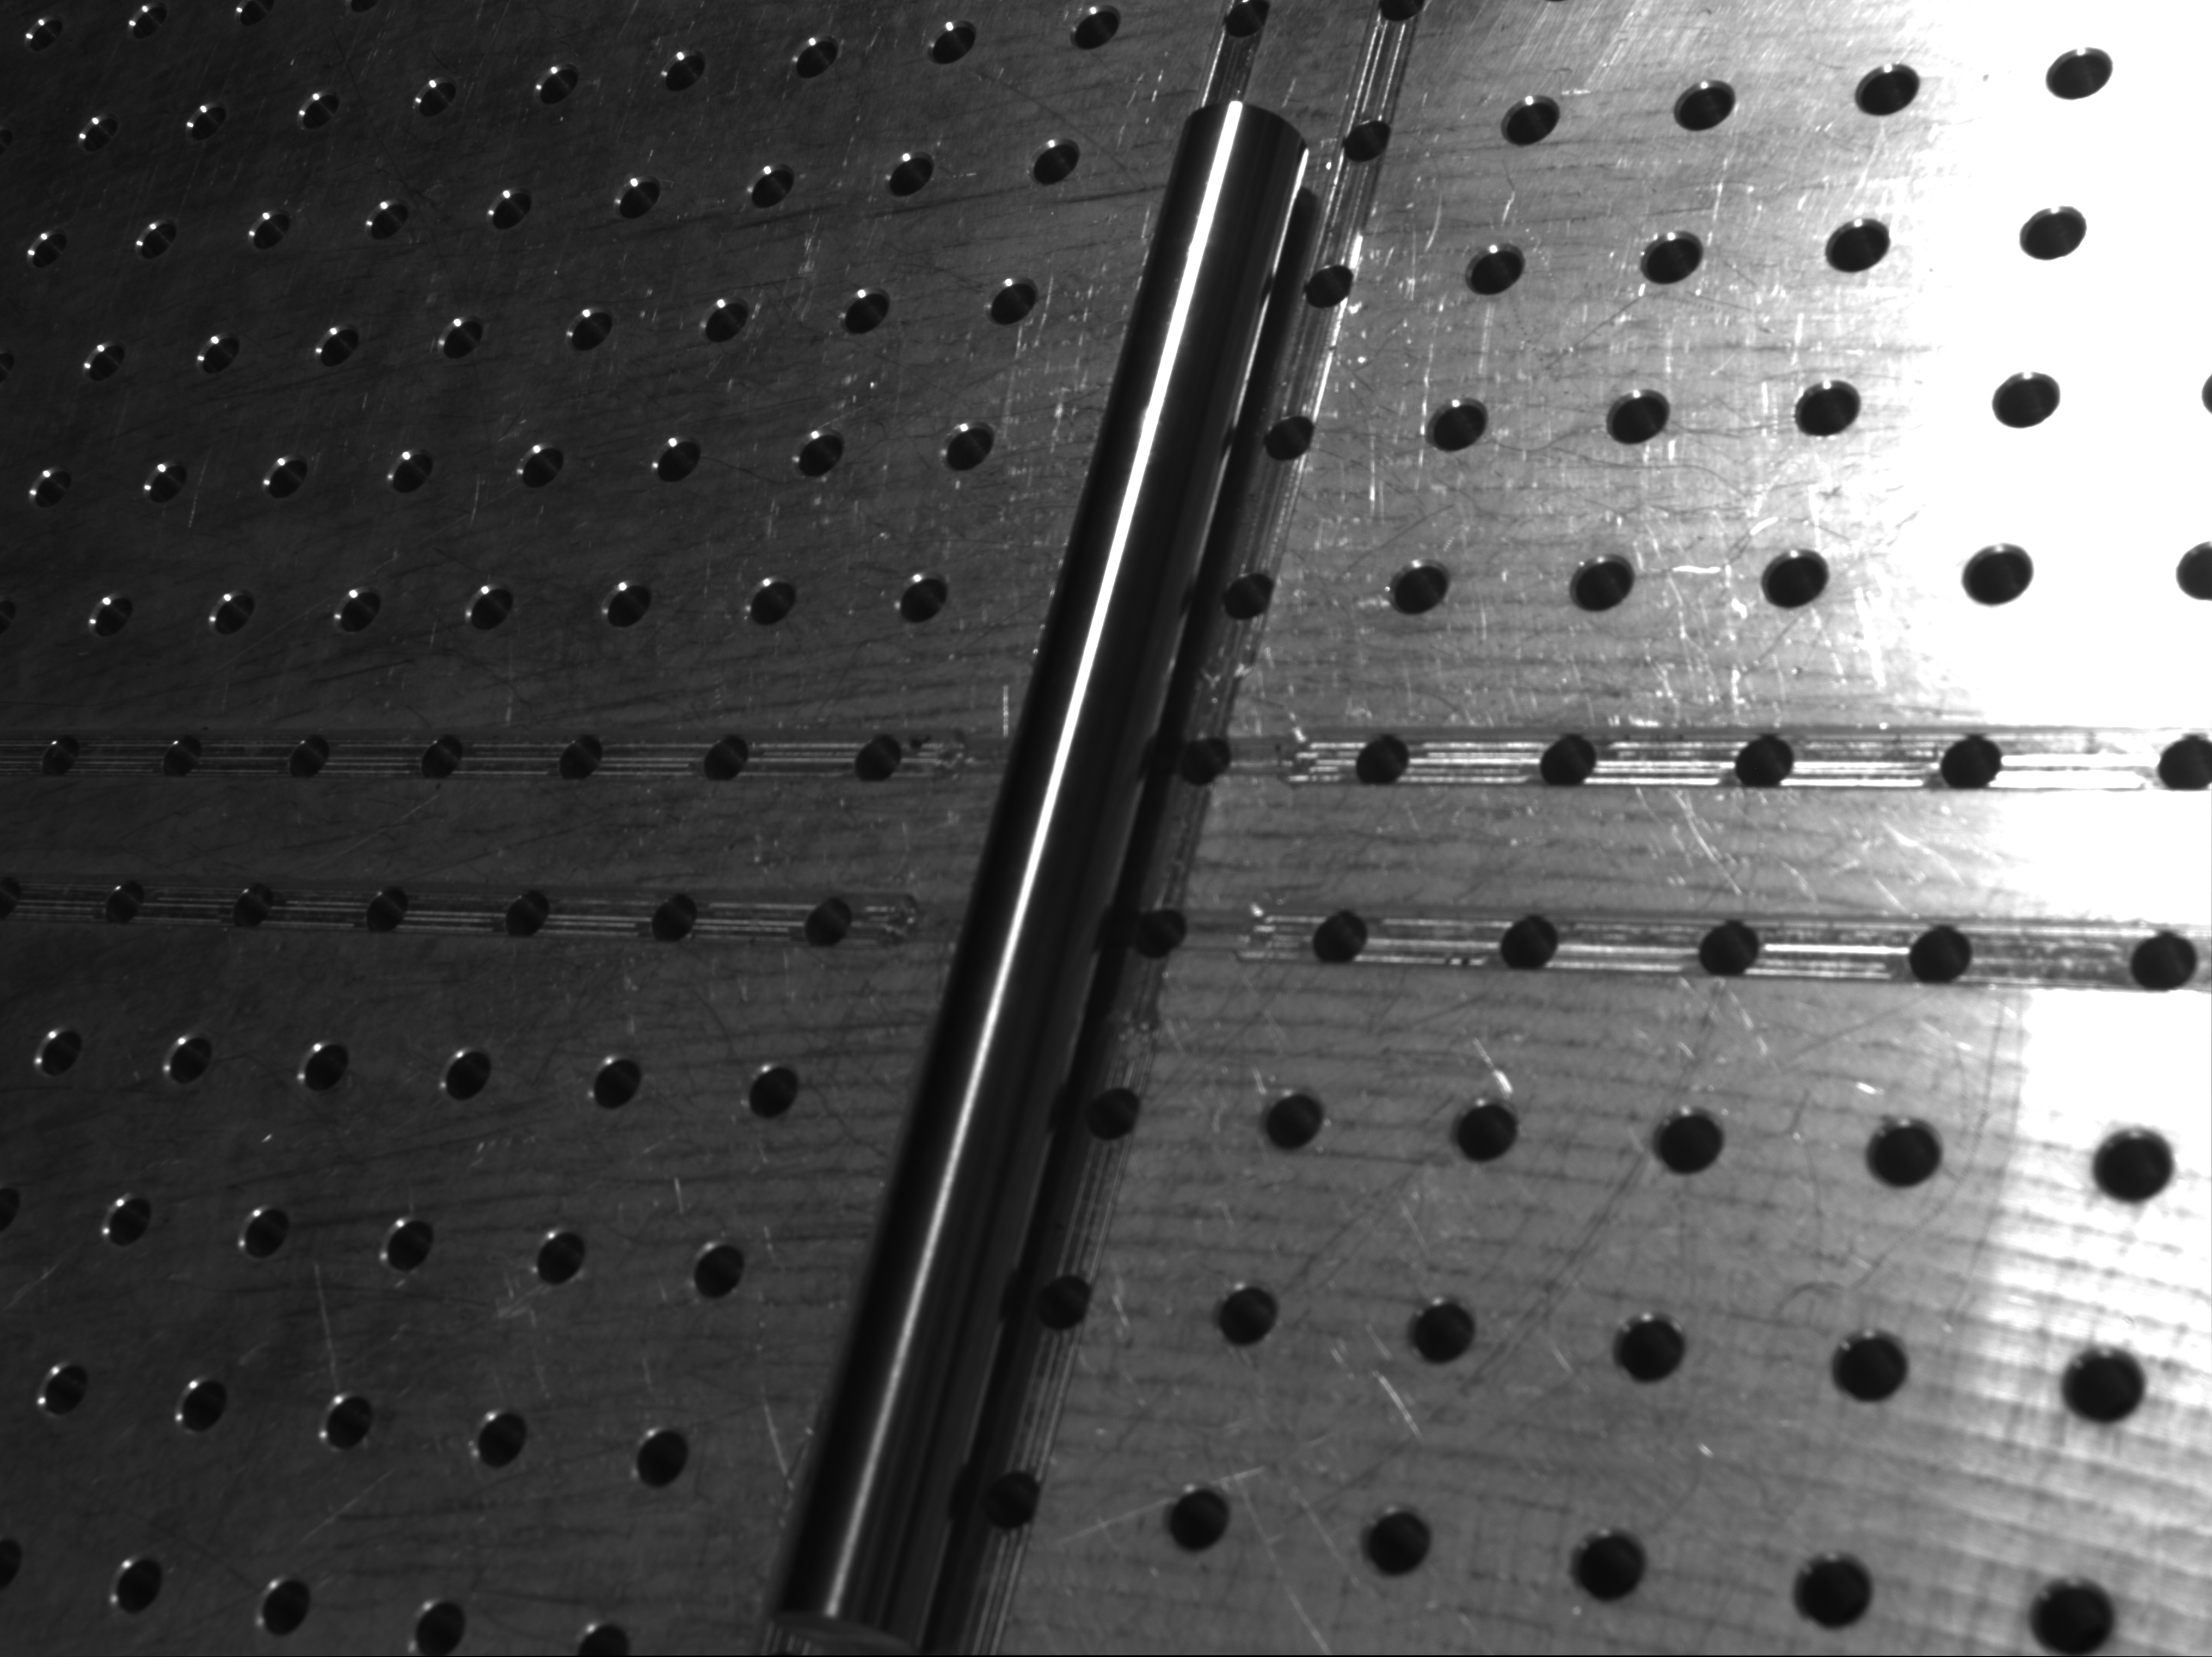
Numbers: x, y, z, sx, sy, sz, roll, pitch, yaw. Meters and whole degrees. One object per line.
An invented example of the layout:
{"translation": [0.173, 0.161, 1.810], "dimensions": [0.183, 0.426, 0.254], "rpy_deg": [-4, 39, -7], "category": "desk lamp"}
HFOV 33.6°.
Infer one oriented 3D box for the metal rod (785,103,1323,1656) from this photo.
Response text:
{"translation": [-0.005, -0.002, 0.651], "dimensions": [0.025, 0.025, 0.300], "rpy_deg": [0, 62, 29], "category": "metal rod"}
